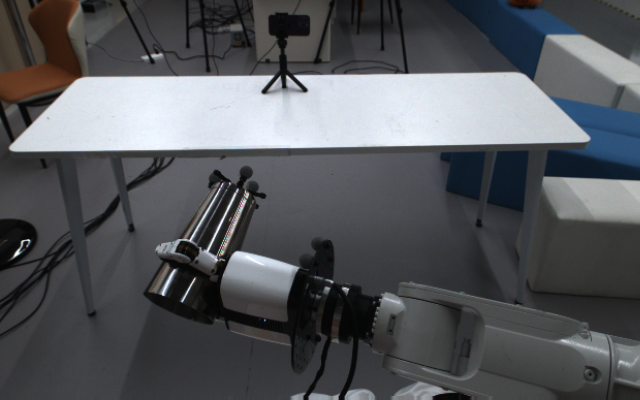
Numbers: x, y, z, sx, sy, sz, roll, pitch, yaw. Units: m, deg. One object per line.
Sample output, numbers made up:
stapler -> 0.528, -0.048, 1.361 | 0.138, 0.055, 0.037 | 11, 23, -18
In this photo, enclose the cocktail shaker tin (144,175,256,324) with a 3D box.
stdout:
cocktail shaker tin -> -0.147, 0.064, 0.627 | 0.093, 0.093, 0.170 | 14, 61, 16
